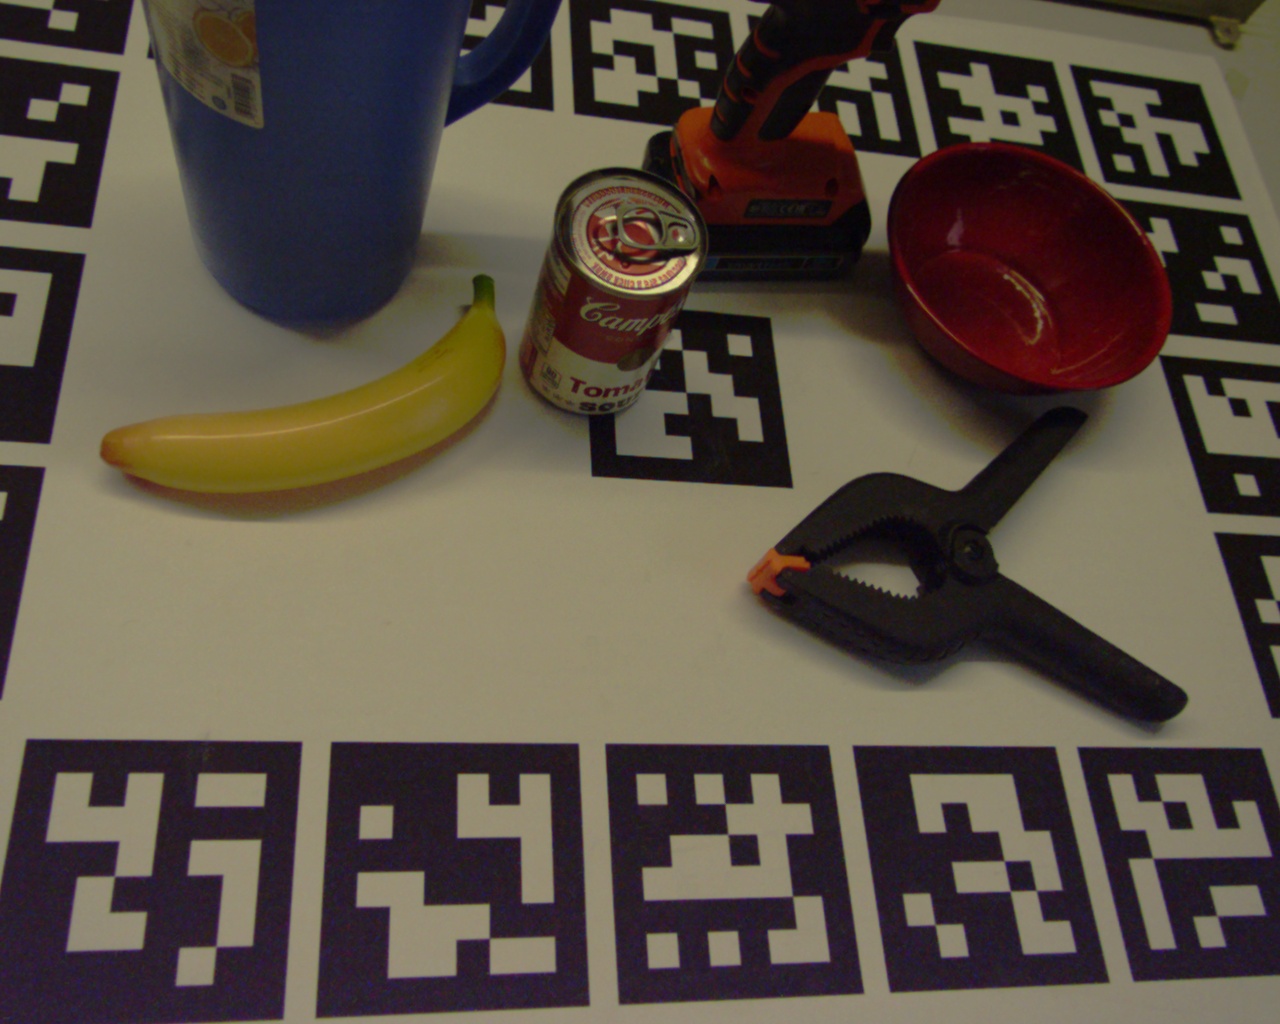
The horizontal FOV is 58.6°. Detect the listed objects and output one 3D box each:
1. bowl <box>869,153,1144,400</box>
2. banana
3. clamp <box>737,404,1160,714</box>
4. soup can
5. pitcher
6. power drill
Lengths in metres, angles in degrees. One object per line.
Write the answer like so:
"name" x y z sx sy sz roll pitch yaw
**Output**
"bowl" 0.194 -0.121 0.641 0.161 0.055 0.162 5 65 -11
"banana" -0.142 -0.048 0.535 0.195 0.039 0.075 -23 64 -24
"clamp" 0.147 0.021 0.563 0.201 0.037 0.166 0 69 -14
"soup can" -0.018 -0.103 0.555 0.067 0.102 0.068 7 55 -10
"pitcher" -0.122 -0.194 0.492 0.187 0.243 0.134 -21 69 -23
"power drill" 0.104 -0.213 0.567 0.183 0.187 0.057 -2 66 -16
